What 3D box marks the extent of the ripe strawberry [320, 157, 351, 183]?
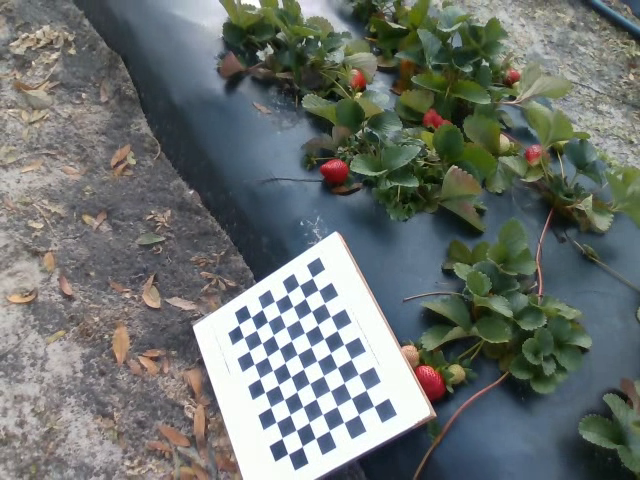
[{"bbox_3d":[0.023,-0.125,1.074,0.053,0.050,0.049,5,-48,-51],"label":"ripe strawberry"}]
